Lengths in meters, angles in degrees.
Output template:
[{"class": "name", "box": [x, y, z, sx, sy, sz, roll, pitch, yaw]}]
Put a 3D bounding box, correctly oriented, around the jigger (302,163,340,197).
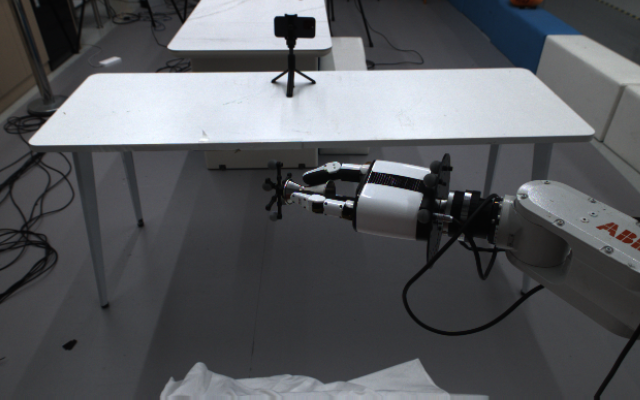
[{"class": "jigger", "box": [-0.010, -0.013, 0.726, 0.071, 0.043, 0.043, 4, 33, 22]}]
